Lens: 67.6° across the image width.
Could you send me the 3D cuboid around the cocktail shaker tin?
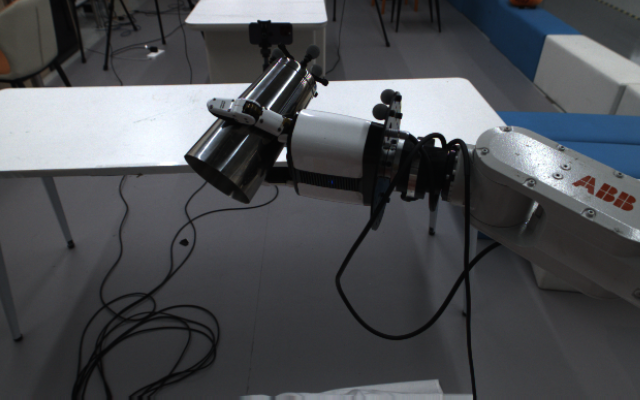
[{"bbox_3d":[-0.076,-0.094,0.591,0.093,0.093,0.170,24,69,28],"label":"cocktail shaker tin"}]
